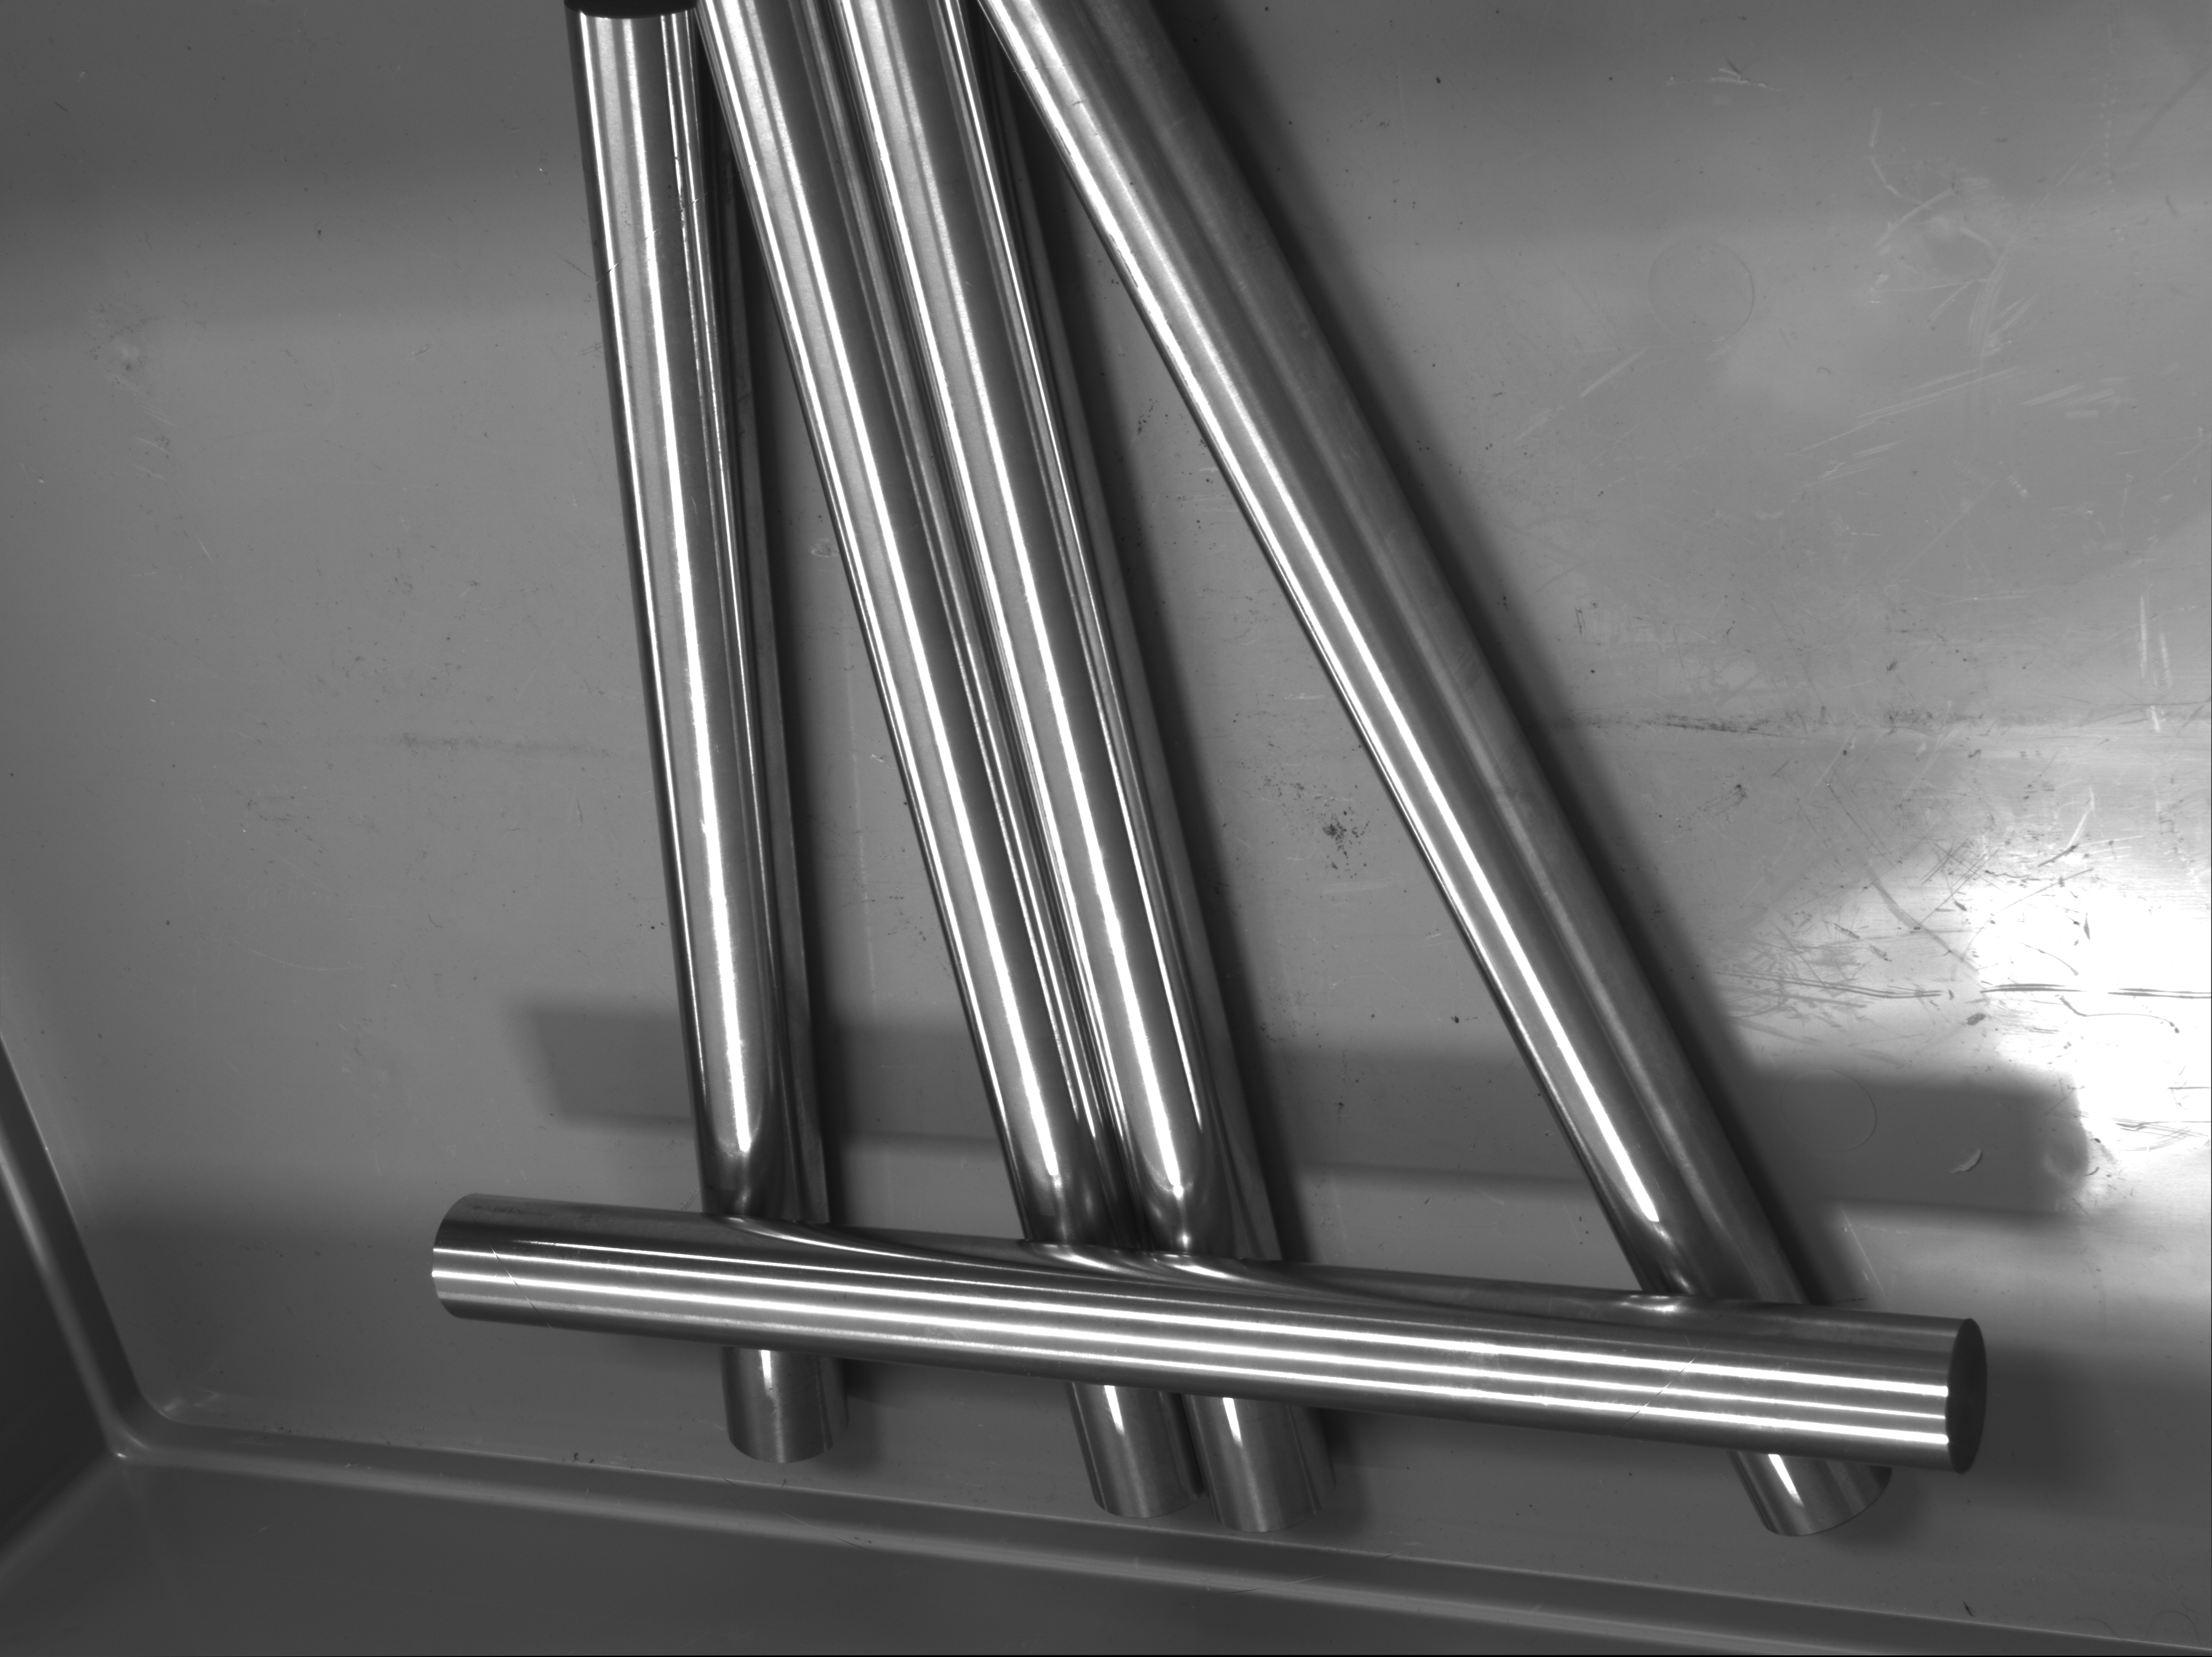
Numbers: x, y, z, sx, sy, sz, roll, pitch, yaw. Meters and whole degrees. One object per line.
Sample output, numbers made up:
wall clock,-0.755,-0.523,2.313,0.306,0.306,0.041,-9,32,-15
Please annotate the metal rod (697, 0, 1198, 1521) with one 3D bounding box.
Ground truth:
metal rod,-0.022,-0.005,0.650,0.025,0.025,0.300,1,119,28

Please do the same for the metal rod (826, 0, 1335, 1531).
metal rod,-0.001,-0.005,0.639,0.025,0.025,0.300,1,119,28

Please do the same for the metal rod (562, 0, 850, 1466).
metal rod,-0.071,-0.007,0.675,0.025,0.025,0.300,11,123,22

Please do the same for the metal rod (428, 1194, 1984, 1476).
metal rod,0.006,0.088,0.659,0.299,0.025,0.025,1,119,28

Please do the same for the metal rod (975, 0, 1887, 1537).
metal rod,0.057,-0.010,0.604,0.025,0.025,0.300,-17,109,35
